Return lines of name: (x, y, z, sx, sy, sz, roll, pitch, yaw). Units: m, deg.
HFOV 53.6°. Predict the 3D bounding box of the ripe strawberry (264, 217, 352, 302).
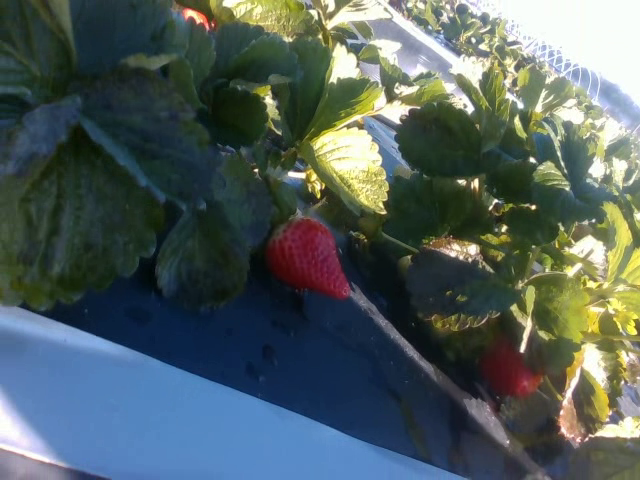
ripe strawberry: (-0.003, 0.011, 0.317, 0.045, 0.059, 0.042, -32, -13, -24)
